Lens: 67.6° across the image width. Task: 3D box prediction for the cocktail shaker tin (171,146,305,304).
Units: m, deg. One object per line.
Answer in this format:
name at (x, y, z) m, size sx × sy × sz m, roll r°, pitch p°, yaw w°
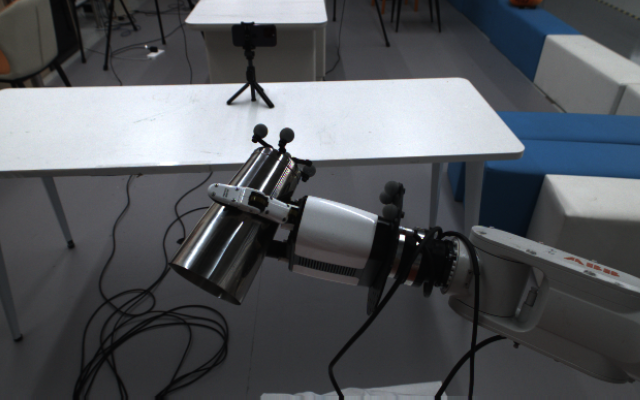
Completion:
cocktail shaker tin at (-0.085, 0.022, 0.560) m, size 0.093 × 0.093 × 0.170 m, roll 17°, pitch 66°, yaw 21°
